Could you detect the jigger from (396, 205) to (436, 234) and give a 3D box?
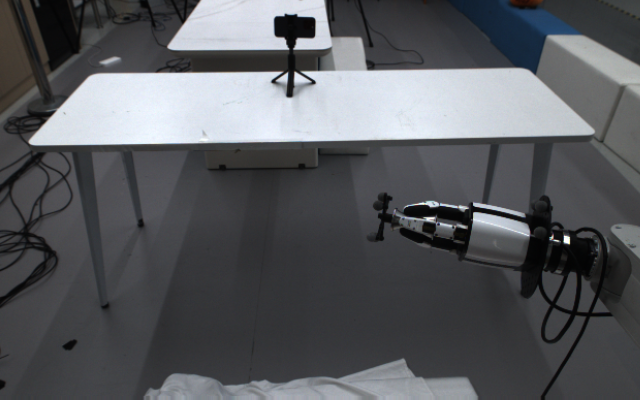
[{"bbox_3d":[0.159,0.034,0.785,0.071,0.043,0.043,10,35,16],"label":"jigger"}]
